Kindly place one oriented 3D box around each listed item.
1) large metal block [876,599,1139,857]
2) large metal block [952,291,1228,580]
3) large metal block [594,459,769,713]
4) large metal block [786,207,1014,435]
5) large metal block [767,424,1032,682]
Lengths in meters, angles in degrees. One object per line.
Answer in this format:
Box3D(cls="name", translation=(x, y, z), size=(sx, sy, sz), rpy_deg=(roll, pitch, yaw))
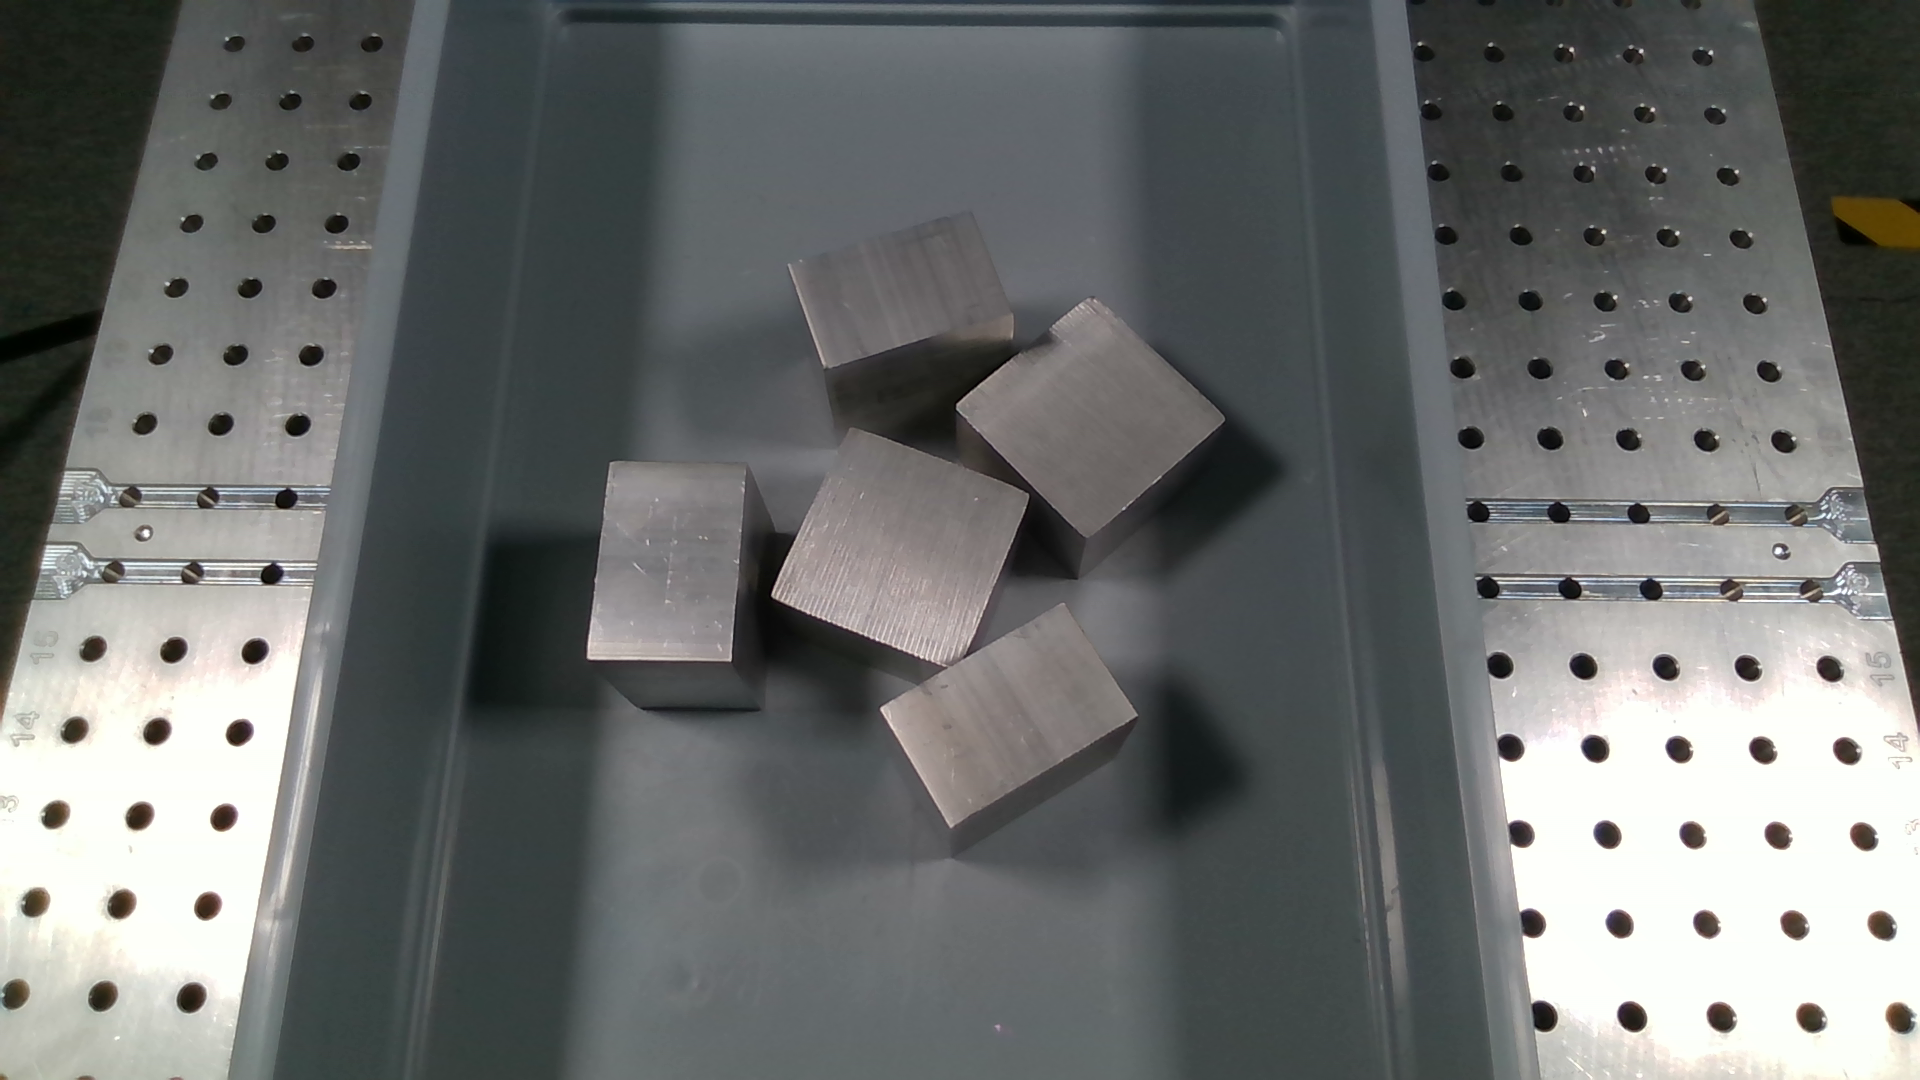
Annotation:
Box3D(cls="large metal block", translation=(0.017, 0.075, 0.531), size=(0.080, 0.080, 0.050), rpy_deg=(-29, 73, -10))
Box3D(cls="large metal block", translation=(0.053, -0.044, 0.589), size=(0.080, 0.050, 0.080), rpy_deg=(-41, 75, -13))
Box3D(cls="large metal block", translation=(-0.107, 0.021, 0.551), size=(0.050, 0.080, 0.080), rpy_deg=(1, 70, 0))
Box3D(cls="large metal block", translation=(-0.024, -0.088, 0.590), size=(0.080, 0.080, 0.050), rpy_deg=(-18, 71, -6))
Box3D(cls="large metal block", translation=(-0.023, 0.010, 0.570), size=(0.080, 0.050, 0.080), rpy_deg=(21, 72, 7))
